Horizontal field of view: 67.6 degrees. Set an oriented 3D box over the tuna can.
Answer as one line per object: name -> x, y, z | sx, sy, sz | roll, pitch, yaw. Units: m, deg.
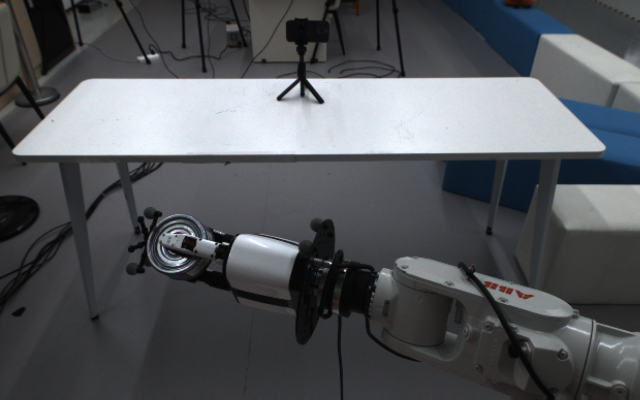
tuna can -> -0.184, 0.066, 0.648 | 0.085, 0.034, 0.085 | -2, 70, 6
